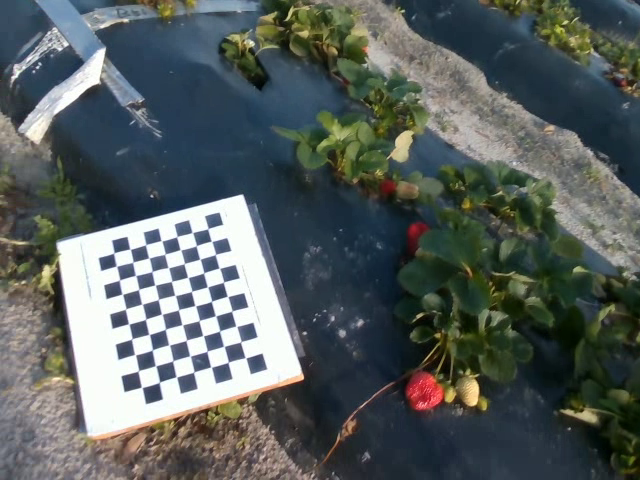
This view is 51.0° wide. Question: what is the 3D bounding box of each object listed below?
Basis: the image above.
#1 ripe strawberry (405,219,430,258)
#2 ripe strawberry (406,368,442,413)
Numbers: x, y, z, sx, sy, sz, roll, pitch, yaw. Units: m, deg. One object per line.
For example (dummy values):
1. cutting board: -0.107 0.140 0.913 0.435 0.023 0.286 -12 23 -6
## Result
1. ripe strawberry: 0.161 -0.013 1.088 0.058 0.071 0.057 -7 -5 -4
2. ripe strawberry: 0.131 0.182 0.864 0.050 0.048 0.035 -33 -26 -23
